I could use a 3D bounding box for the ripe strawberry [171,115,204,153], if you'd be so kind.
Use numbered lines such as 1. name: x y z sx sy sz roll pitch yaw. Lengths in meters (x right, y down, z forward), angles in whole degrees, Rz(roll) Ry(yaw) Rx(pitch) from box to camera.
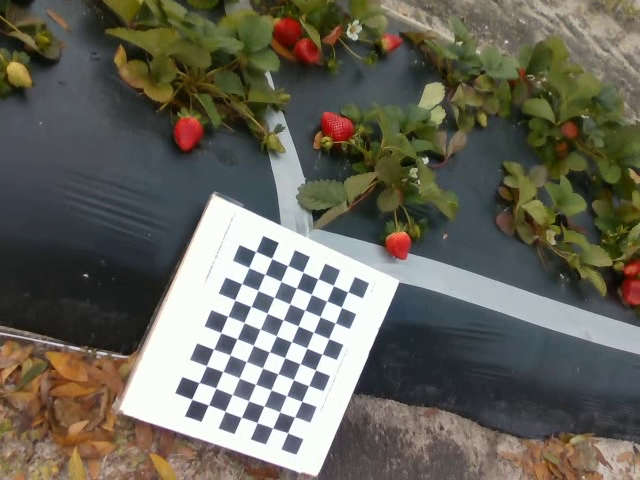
1. ripe strawberry: -0.146 -0.125 0.694 0.036 0.046 0.040 9 -43 -9

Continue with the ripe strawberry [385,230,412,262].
1. ripe strawberry: 0.103 0.003 0.823 0.039 0.047 0.041 -12 1 -8

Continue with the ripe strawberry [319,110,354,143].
1. ripe strawberry: 0.024 -0.168 0.840 0.062 0.043 0.042 43 -3 -10
